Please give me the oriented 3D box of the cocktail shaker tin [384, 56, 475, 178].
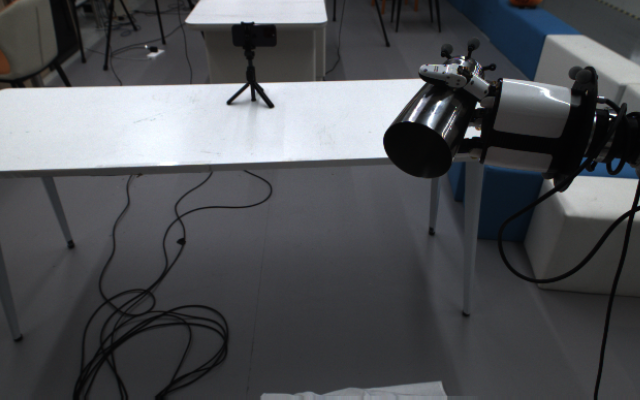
[{"bbox_3d":[0.165,-0.124,0.645,0.093,0.093,0.170,19,55,22],"label":"cocktail shaker tin"}]
